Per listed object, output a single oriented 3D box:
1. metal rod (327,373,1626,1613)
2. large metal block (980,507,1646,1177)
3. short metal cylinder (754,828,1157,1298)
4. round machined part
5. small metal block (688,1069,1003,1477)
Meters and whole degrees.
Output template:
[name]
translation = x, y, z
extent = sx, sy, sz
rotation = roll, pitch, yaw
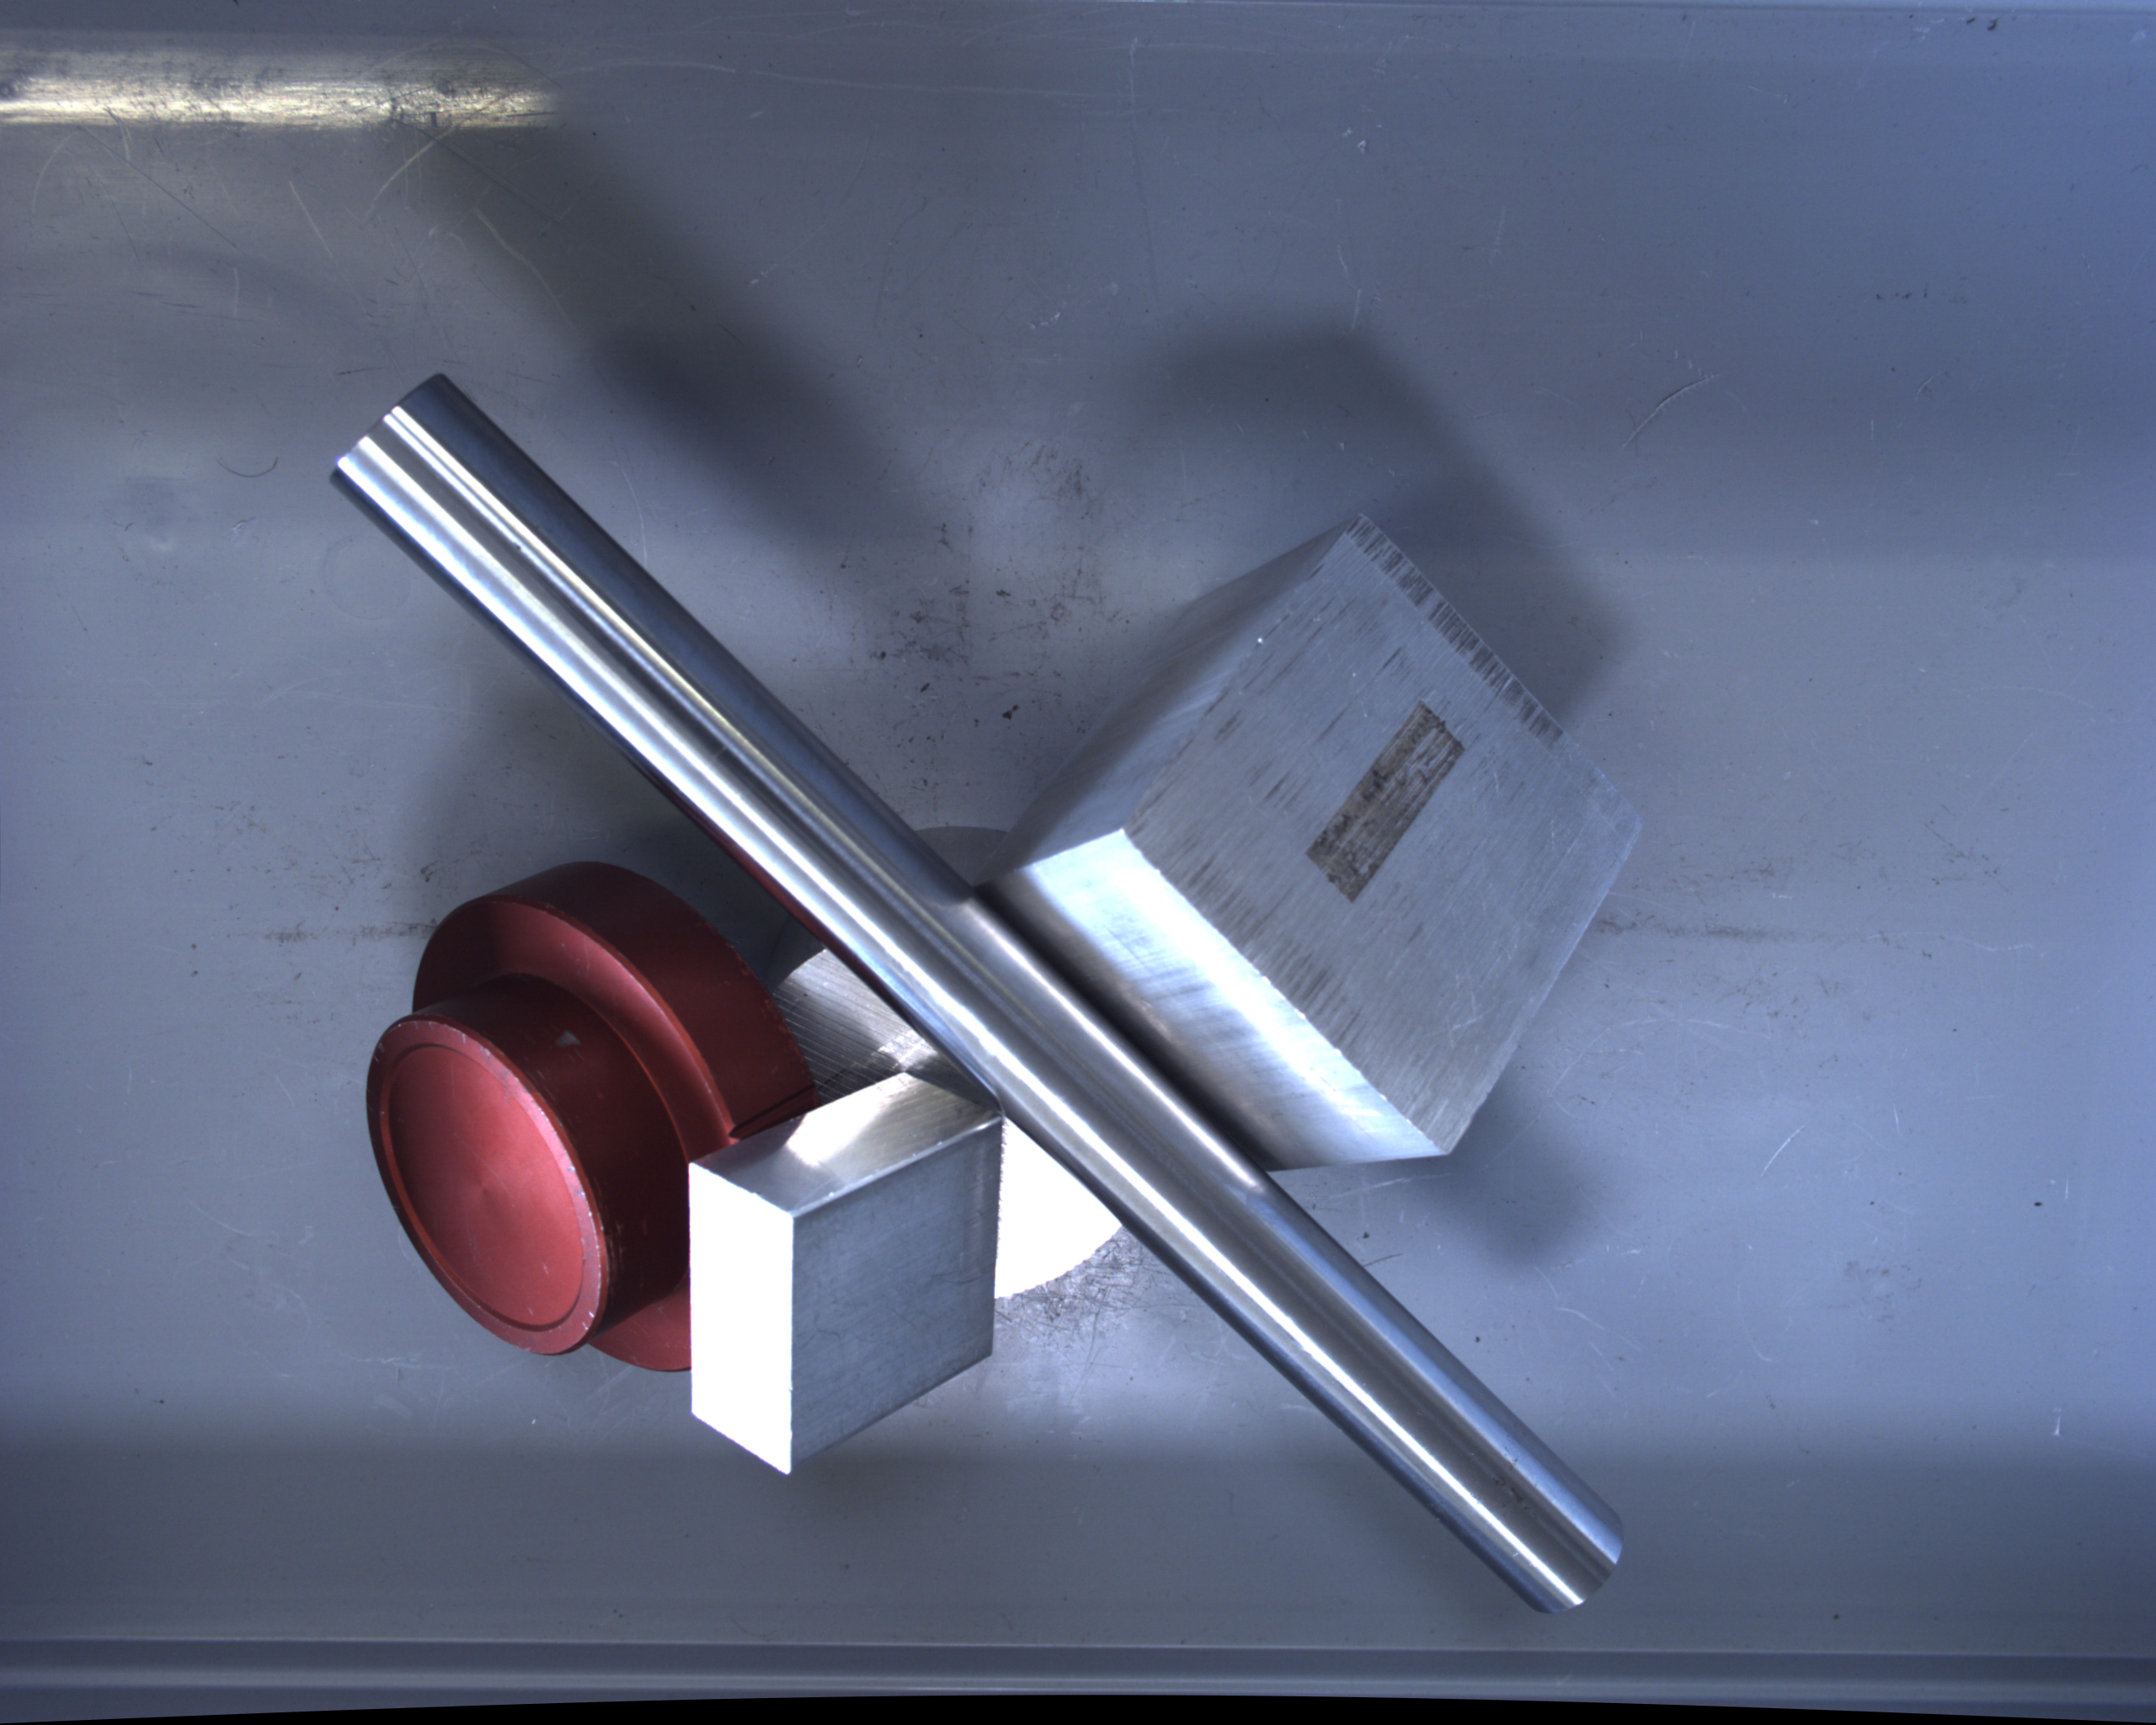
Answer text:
[metal rod]
translation = -0.006, 0.033, 0.368
extent = 0.025, 0.025, 0.300
rotation = -42, 105, 14
[large metal block]
translation = 0.042, -0.002, 0.373
extent = 0.080, 0.050, 0.080
rotation = 44, 61, -15
[short metal cylinder]
translation = -0.024, 0.039, 0.410
extent = 0.081, 0.050, 0.079
rotation = 0, 110, 0
[round machined part]
translation = -0.095, 0.052, 0.391
extent = 0.098, 0.042, 0.097
rotation = 18, 120, 34
[small metal block]
translation = -0.040, 0.070, 0.366
extent = 0.025, 0.050, 0.050
rotation = 19, 116, 36
